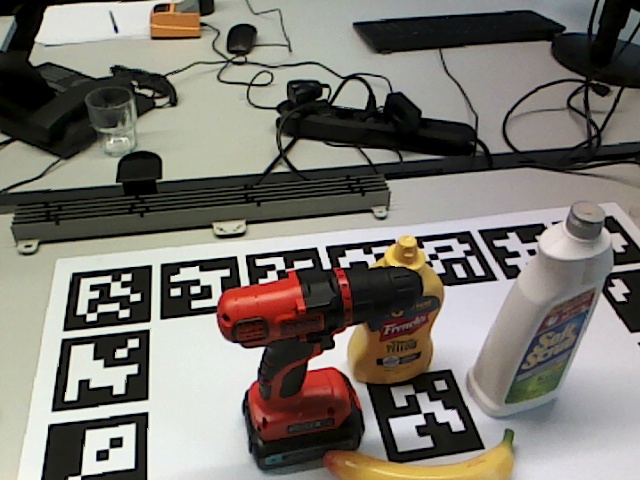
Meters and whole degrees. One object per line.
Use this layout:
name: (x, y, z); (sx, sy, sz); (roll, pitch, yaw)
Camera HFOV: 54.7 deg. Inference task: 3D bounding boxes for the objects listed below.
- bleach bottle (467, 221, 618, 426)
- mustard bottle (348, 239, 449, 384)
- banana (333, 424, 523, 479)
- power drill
bleach bottle: (0.224, 0.085, 0.617); (0.102, 0.250, 0.068); (-11, 45, -15)
mustard bottle: (0.085, 0.074, 0.654); (0.096, 0.191, 0.059); (-4, 42, -10)
banana: (0.113, 0.224, 0.599); (0.197, 0.039, 0.074); (-5, 47, -5)
power drill: (-0.003, 0.111, 0.581); (0.184, 0.186, 0.057); (-6, 36, -13)
